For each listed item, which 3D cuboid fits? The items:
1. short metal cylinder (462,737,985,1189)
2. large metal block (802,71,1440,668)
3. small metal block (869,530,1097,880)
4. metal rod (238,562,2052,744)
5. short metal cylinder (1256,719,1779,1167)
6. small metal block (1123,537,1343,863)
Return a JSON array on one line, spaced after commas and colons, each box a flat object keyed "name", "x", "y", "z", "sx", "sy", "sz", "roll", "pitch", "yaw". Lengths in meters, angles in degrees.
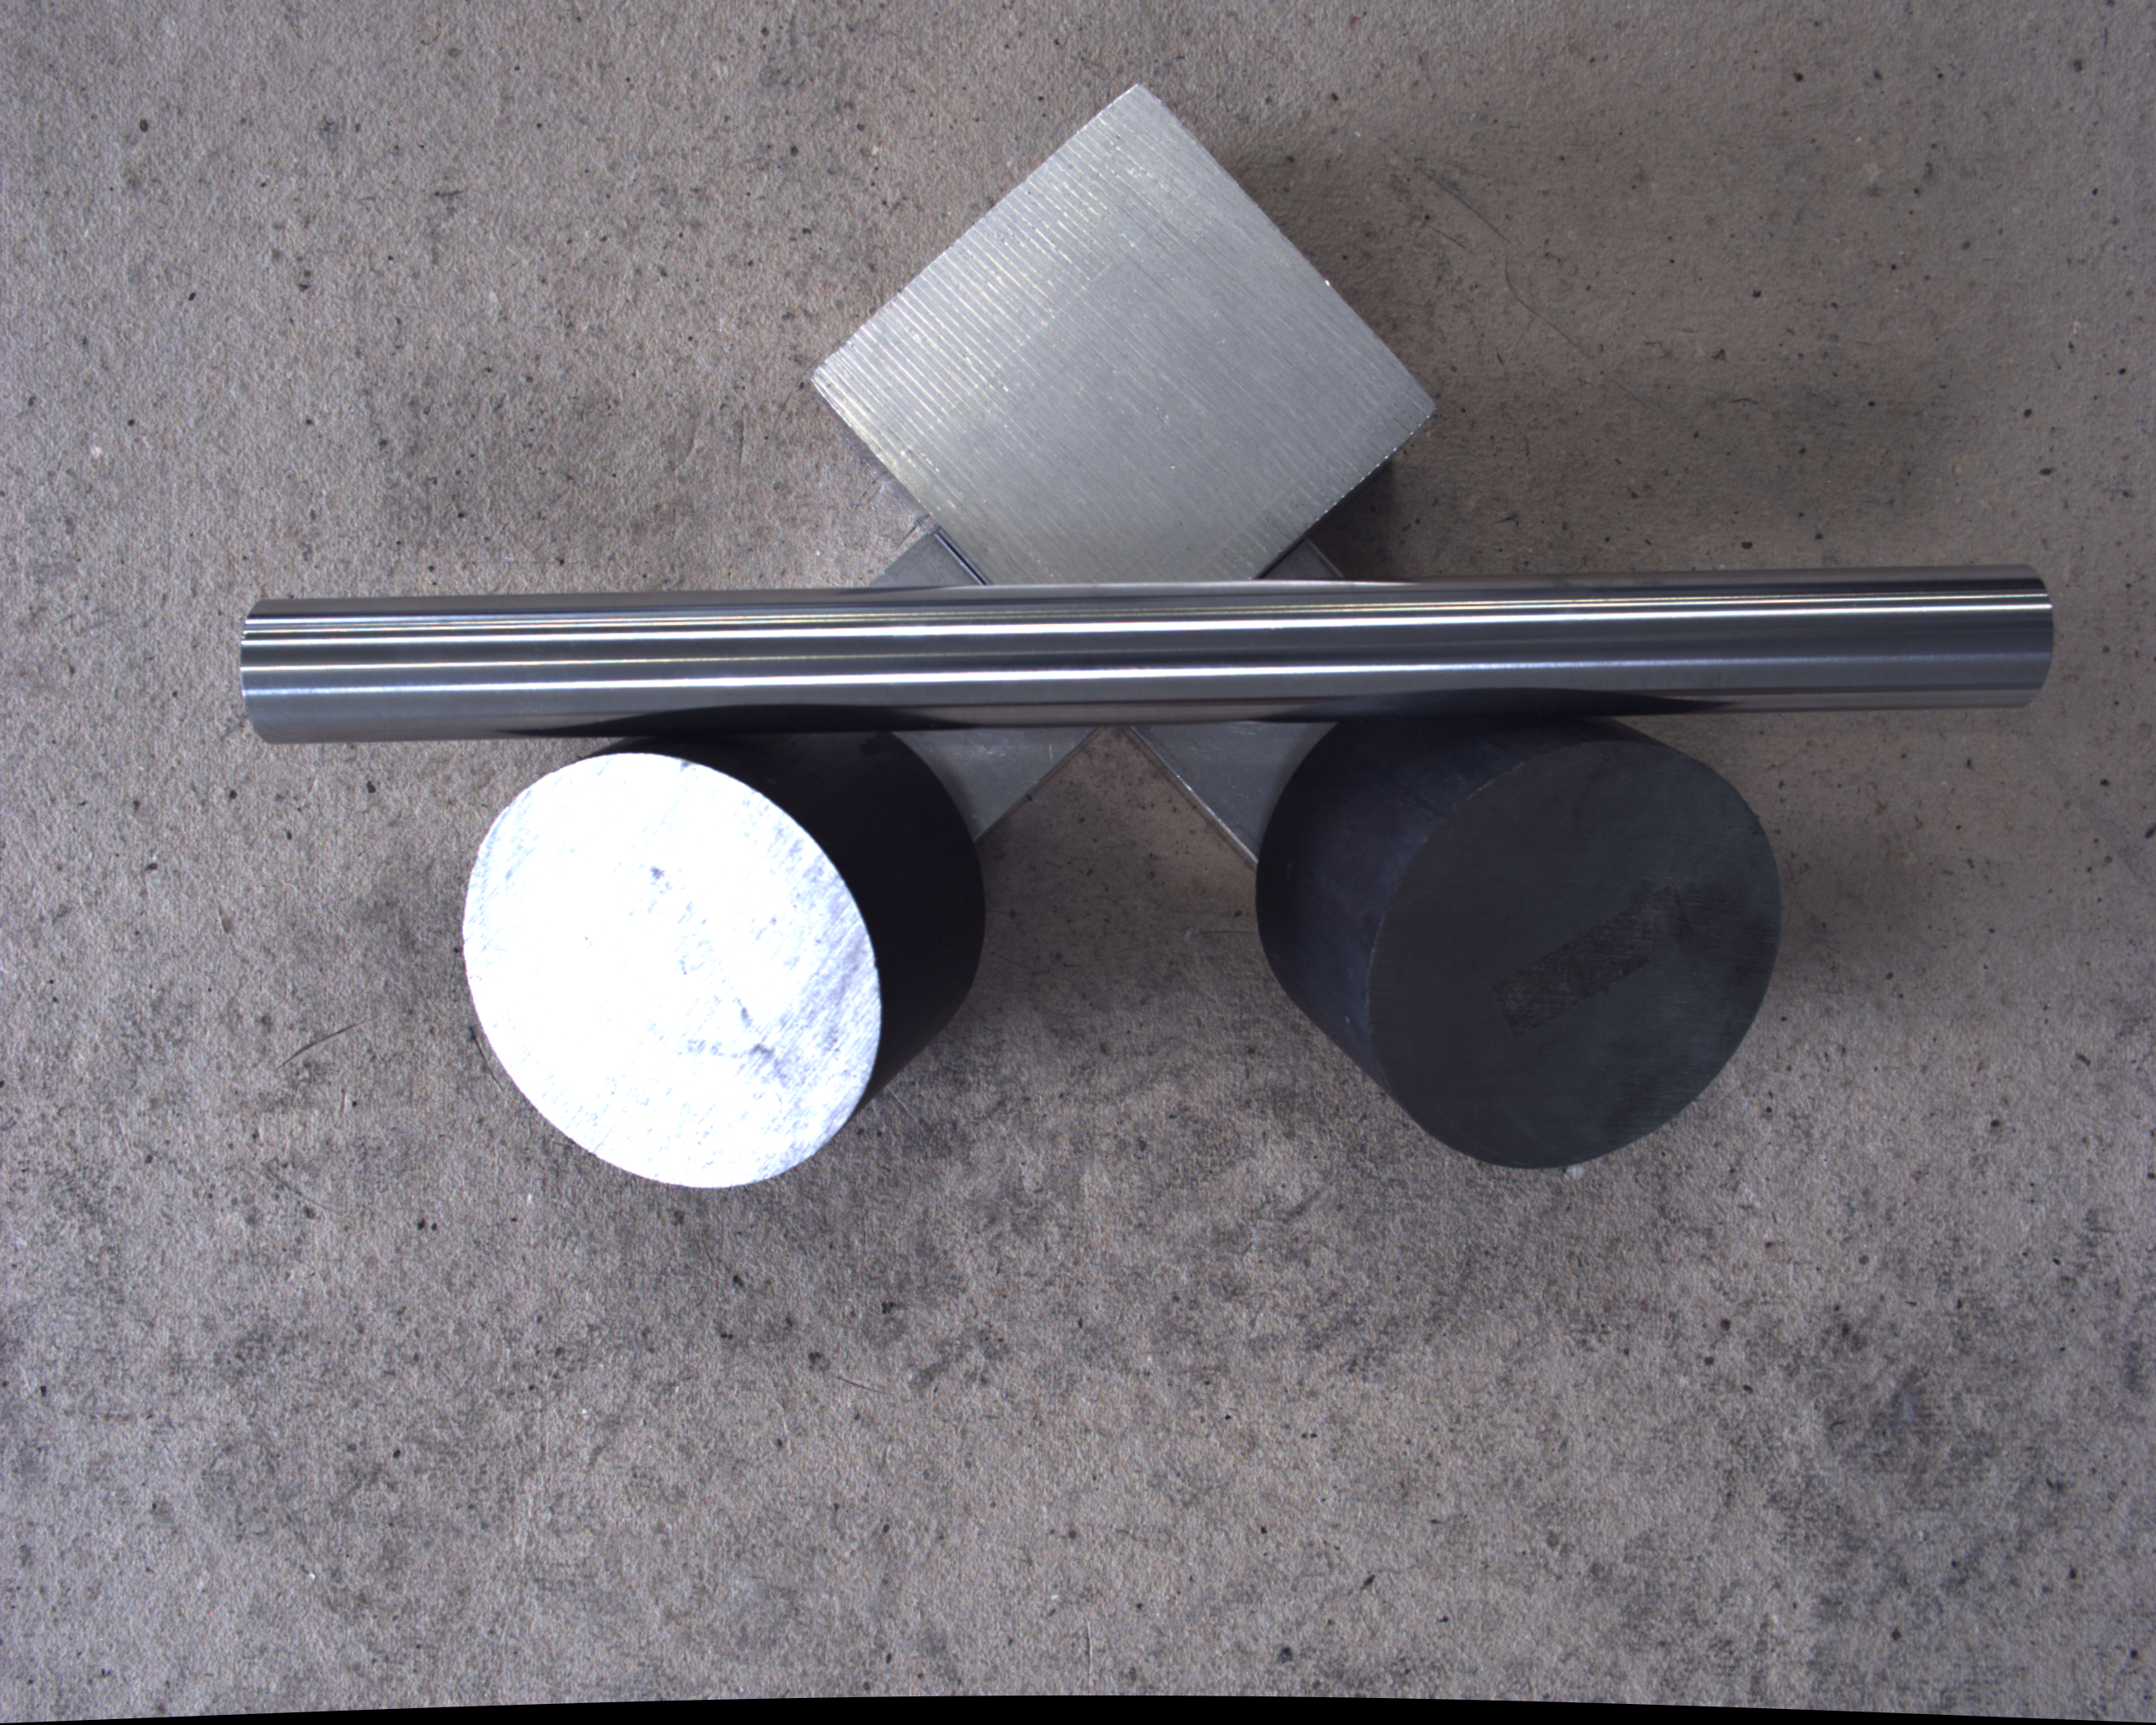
[{"name": "short metal cylinder", "x": -0.064, "y": 0.013, "z": 0.384, "sx": 0.080, "sy": 0.050, "sz": 0.079, "roll": 5, "pitch": 108, "yaw": 17}, {"name": "large metal block", "x": 0.008, "y": -0.085, "z": 0.397, "sx": 0.080, "sy": 0.050, "sz": 0.080, "roll": -42, "pitch": 90, "yaw": 0}, {"name": "small metal block", "x": -0.029, "y": -0.029, "z": 0.411, "sx": 0.050, "sy": 0.025, "sz": 0.050, "roll": -43, "pitch": 90, "yaw": -1}, {"name": "metal rod", "x": 0.012, "y": -0.036, "z": 0.359, "sx": 0.302, "sy": 0.025, "sz": 0.025, "roll": -1, "pitch": 90, "yaw": 0}, {"name": "short metal cylinder", "x": 0.080, "y": 0.009, "z": 0.385, "sx": 0.081, "sy": 0.050, "sz": 0.079, "roll": -6, "pitch": 110, "yaw": -17}, {"name": "small metal block", "x": 0.043, "y": -0.027, "z": 0.411, "sx": 0.050, "sy": 0.025, "sz": 0.050, "roll": -43, "pitch": 90, "yaw": 0}]
